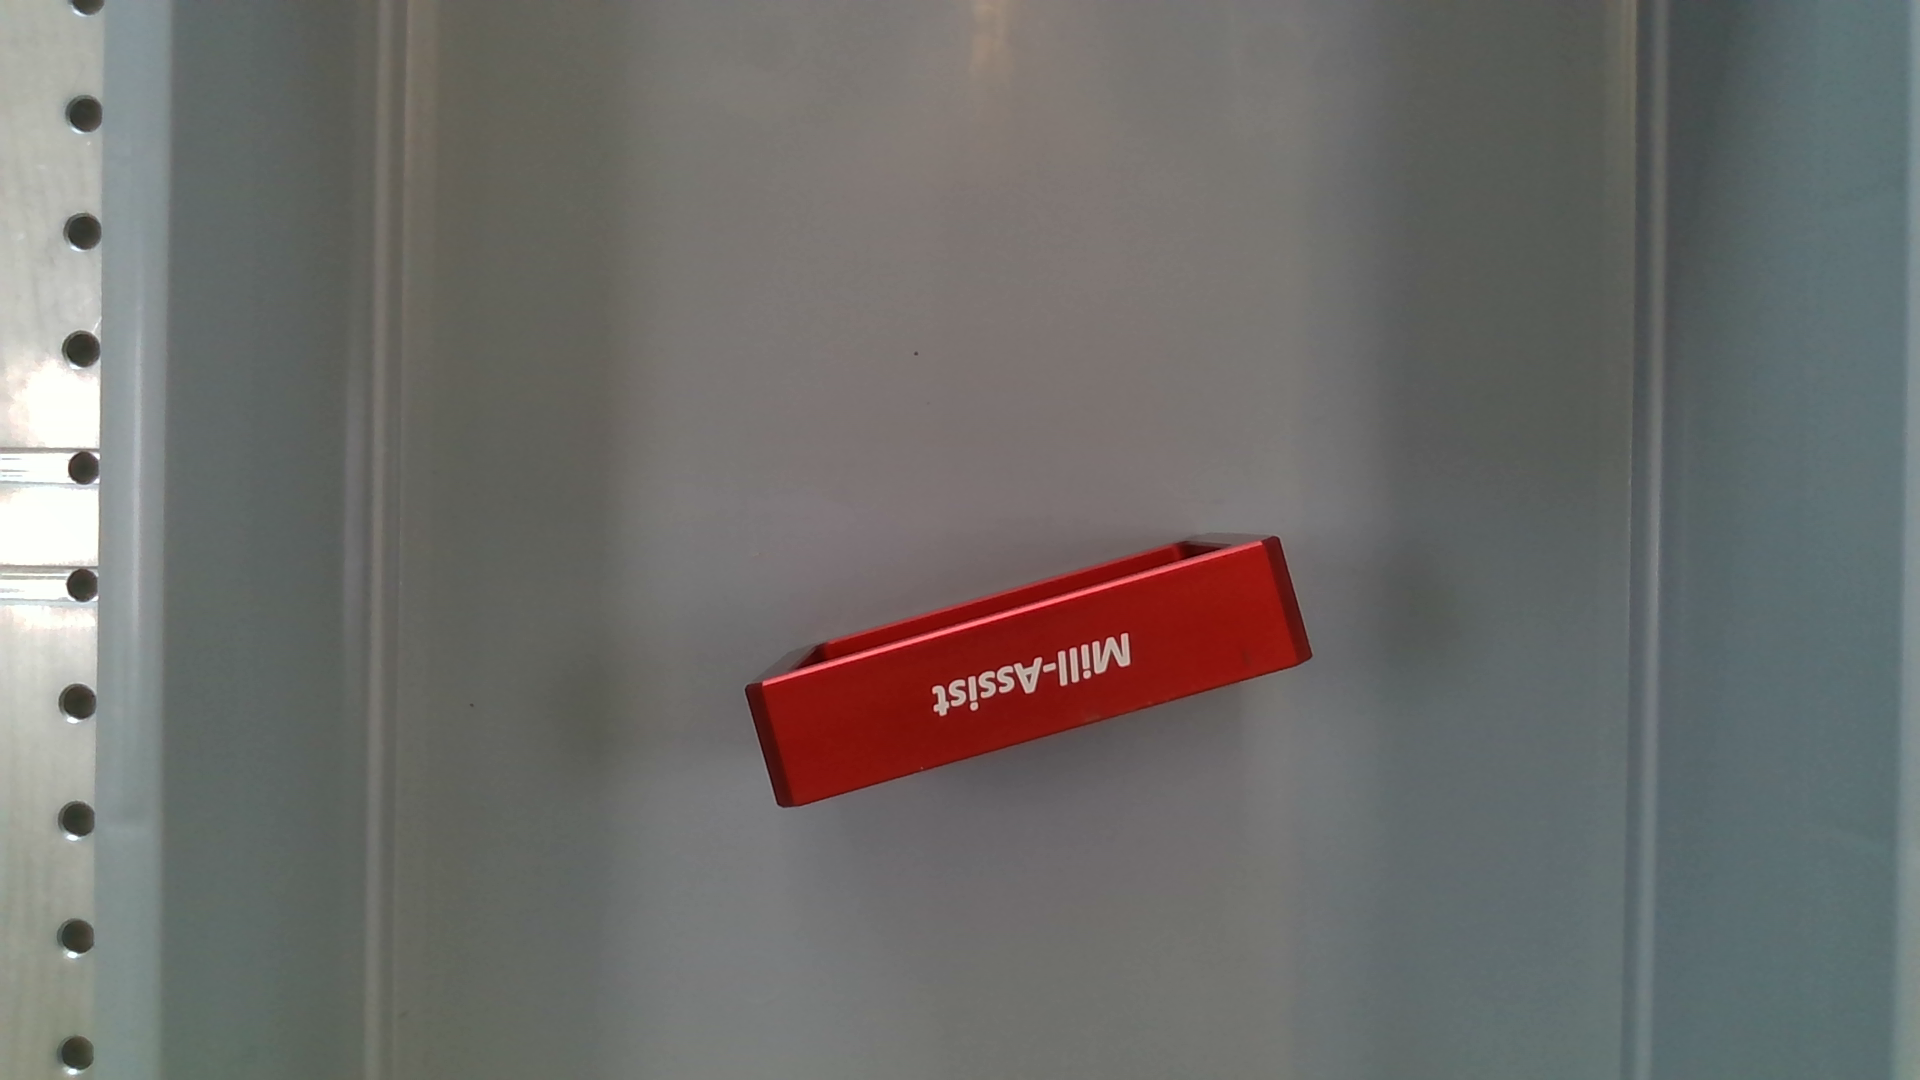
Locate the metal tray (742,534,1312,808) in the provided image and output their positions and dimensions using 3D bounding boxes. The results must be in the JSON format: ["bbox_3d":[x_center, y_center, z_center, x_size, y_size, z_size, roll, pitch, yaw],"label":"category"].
[{"bbox_3d":[0.016,0.030,0.360,0.130,0.090,0.030,-16,91,0],"label":"metal tray"}]
